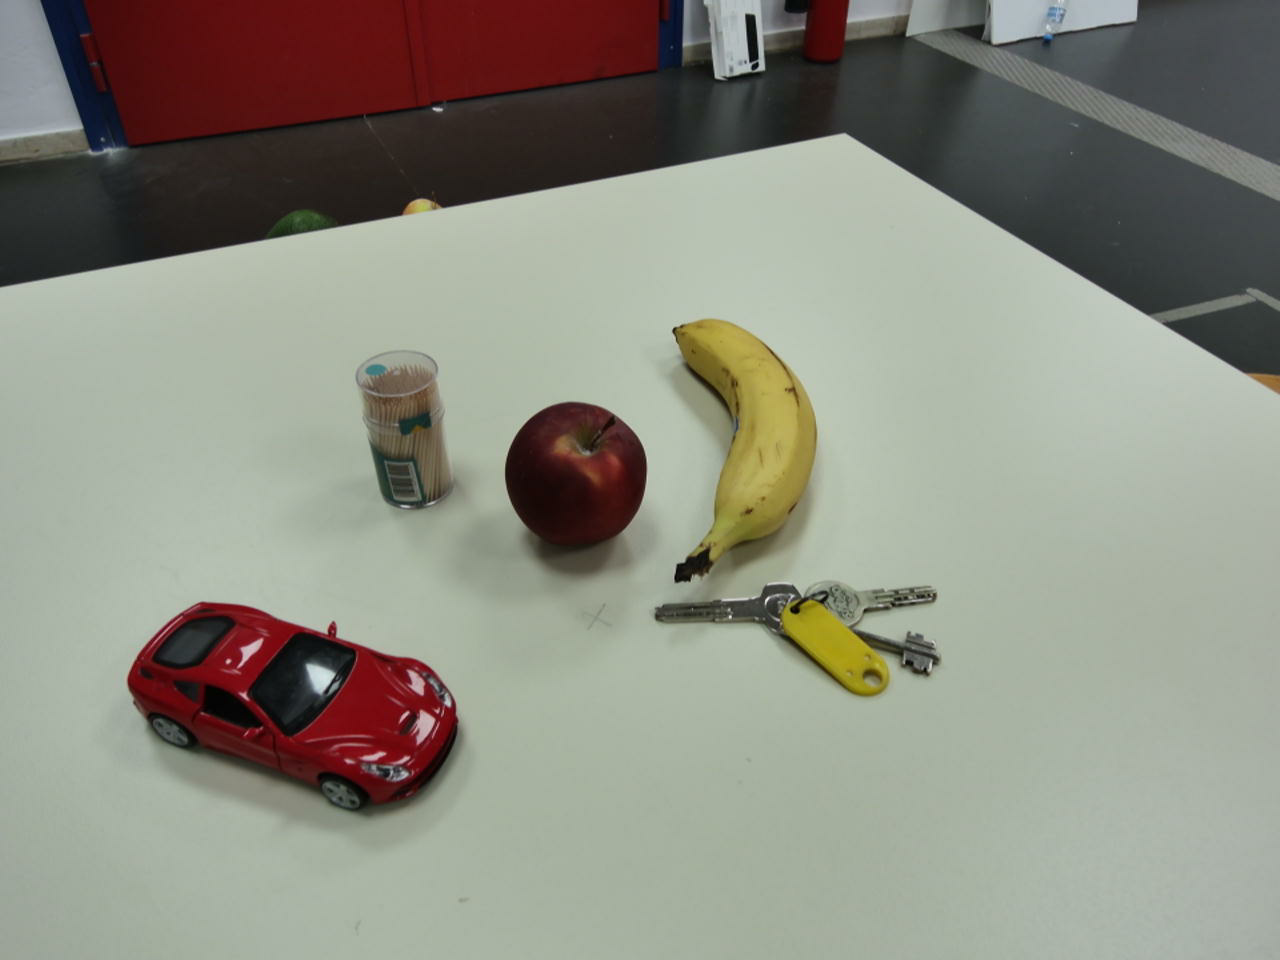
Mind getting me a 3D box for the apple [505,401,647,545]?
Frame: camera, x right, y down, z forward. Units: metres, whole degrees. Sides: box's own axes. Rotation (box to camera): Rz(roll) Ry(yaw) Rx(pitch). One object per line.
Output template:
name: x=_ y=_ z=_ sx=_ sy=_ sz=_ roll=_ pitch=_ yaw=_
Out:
apple: x=-0.031 y=-0.002 z=0.486 sx=0.070 sy=0.072 sz=0.070 roll=1 pitch=39 yaw=-1
